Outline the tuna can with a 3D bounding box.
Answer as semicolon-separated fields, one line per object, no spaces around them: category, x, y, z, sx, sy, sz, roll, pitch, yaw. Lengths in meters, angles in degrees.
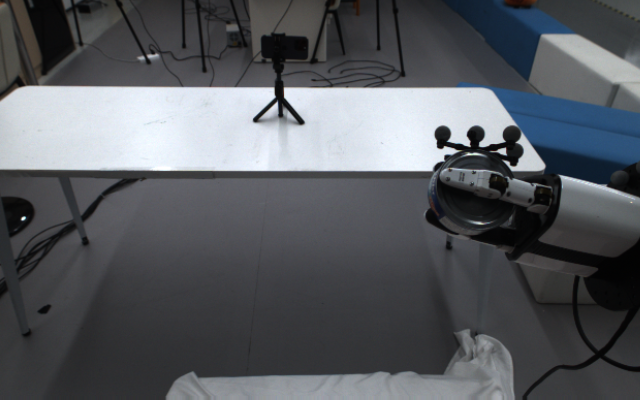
tuna can;0.160;-0.012;0.506;0.085;0.034;0.085;1;73;-4
